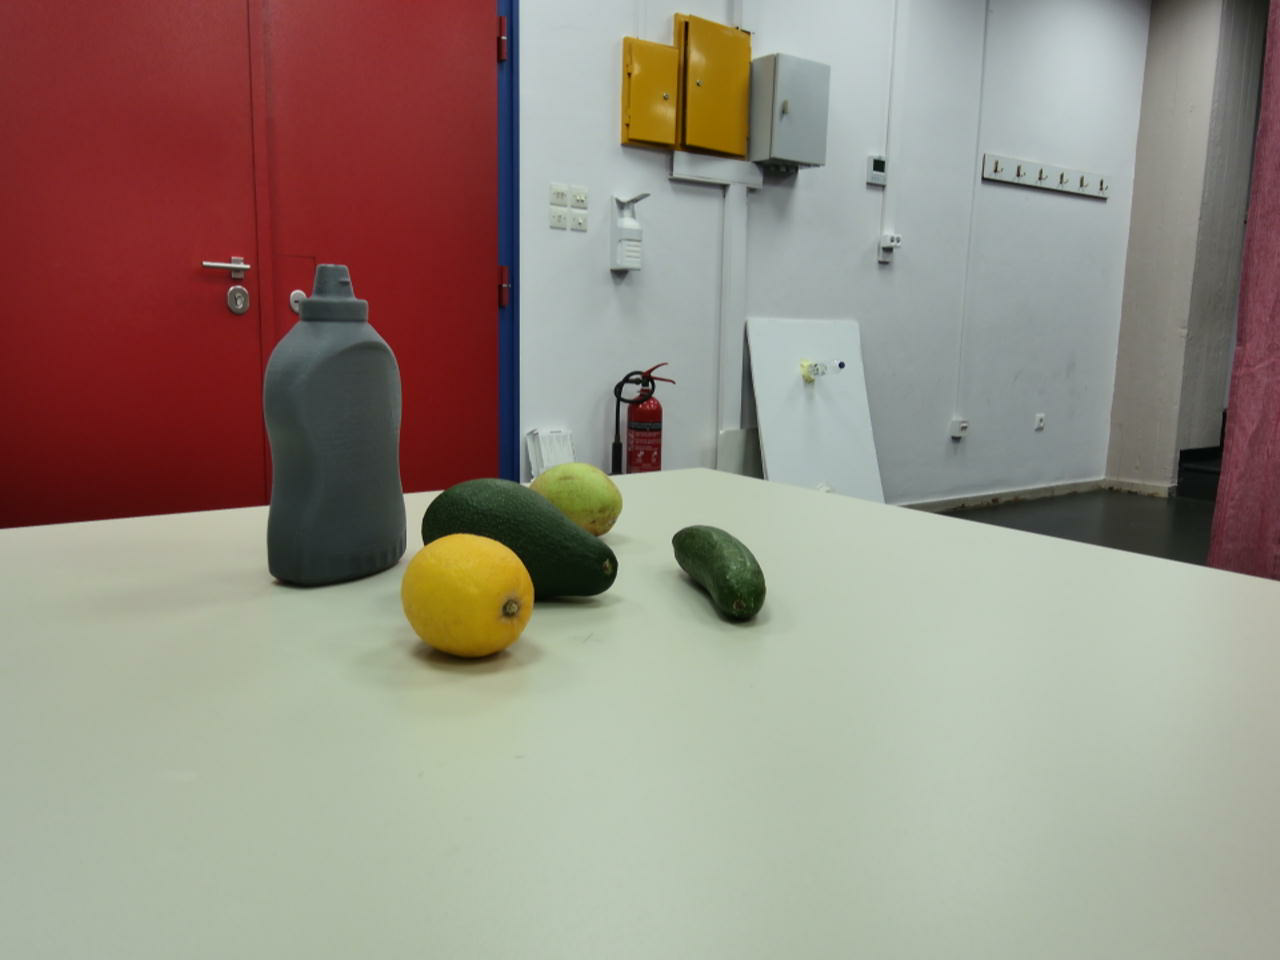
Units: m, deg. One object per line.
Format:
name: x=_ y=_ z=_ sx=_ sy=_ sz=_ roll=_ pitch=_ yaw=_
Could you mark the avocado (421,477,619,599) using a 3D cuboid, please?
avocado: x=-0.073 y=0.035 z=0.583 sx=0.110 sy=0.071 sz=0.072 roll=5 pitch=8 yaw=31
